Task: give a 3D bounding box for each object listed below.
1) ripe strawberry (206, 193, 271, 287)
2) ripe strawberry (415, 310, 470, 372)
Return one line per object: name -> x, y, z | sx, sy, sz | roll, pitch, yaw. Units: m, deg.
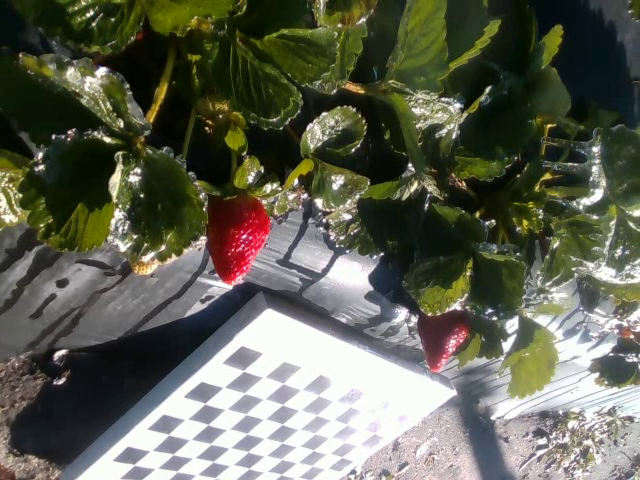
ripe strawberry -> -0.054, 0.003, 0.364 | 0.042, 0.061, 0.046 | 16, -7, -34
ripe strawberry -> 0.104, 0.088, 0.506 | 0.049, 0.061, 0.044 | 23, -2, -38
